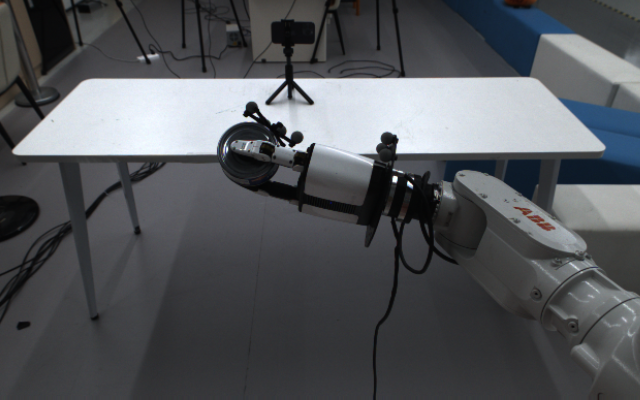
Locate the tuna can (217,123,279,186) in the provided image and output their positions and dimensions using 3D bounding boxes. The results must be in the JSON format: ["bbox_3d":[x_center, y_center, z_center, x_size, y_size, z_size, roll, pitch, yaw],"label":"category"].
[{"bbox_3d":[-0.094,-0.058,0.668,0.085,0.034,0.085,0,73,-1],"label":"tuna can"}]
